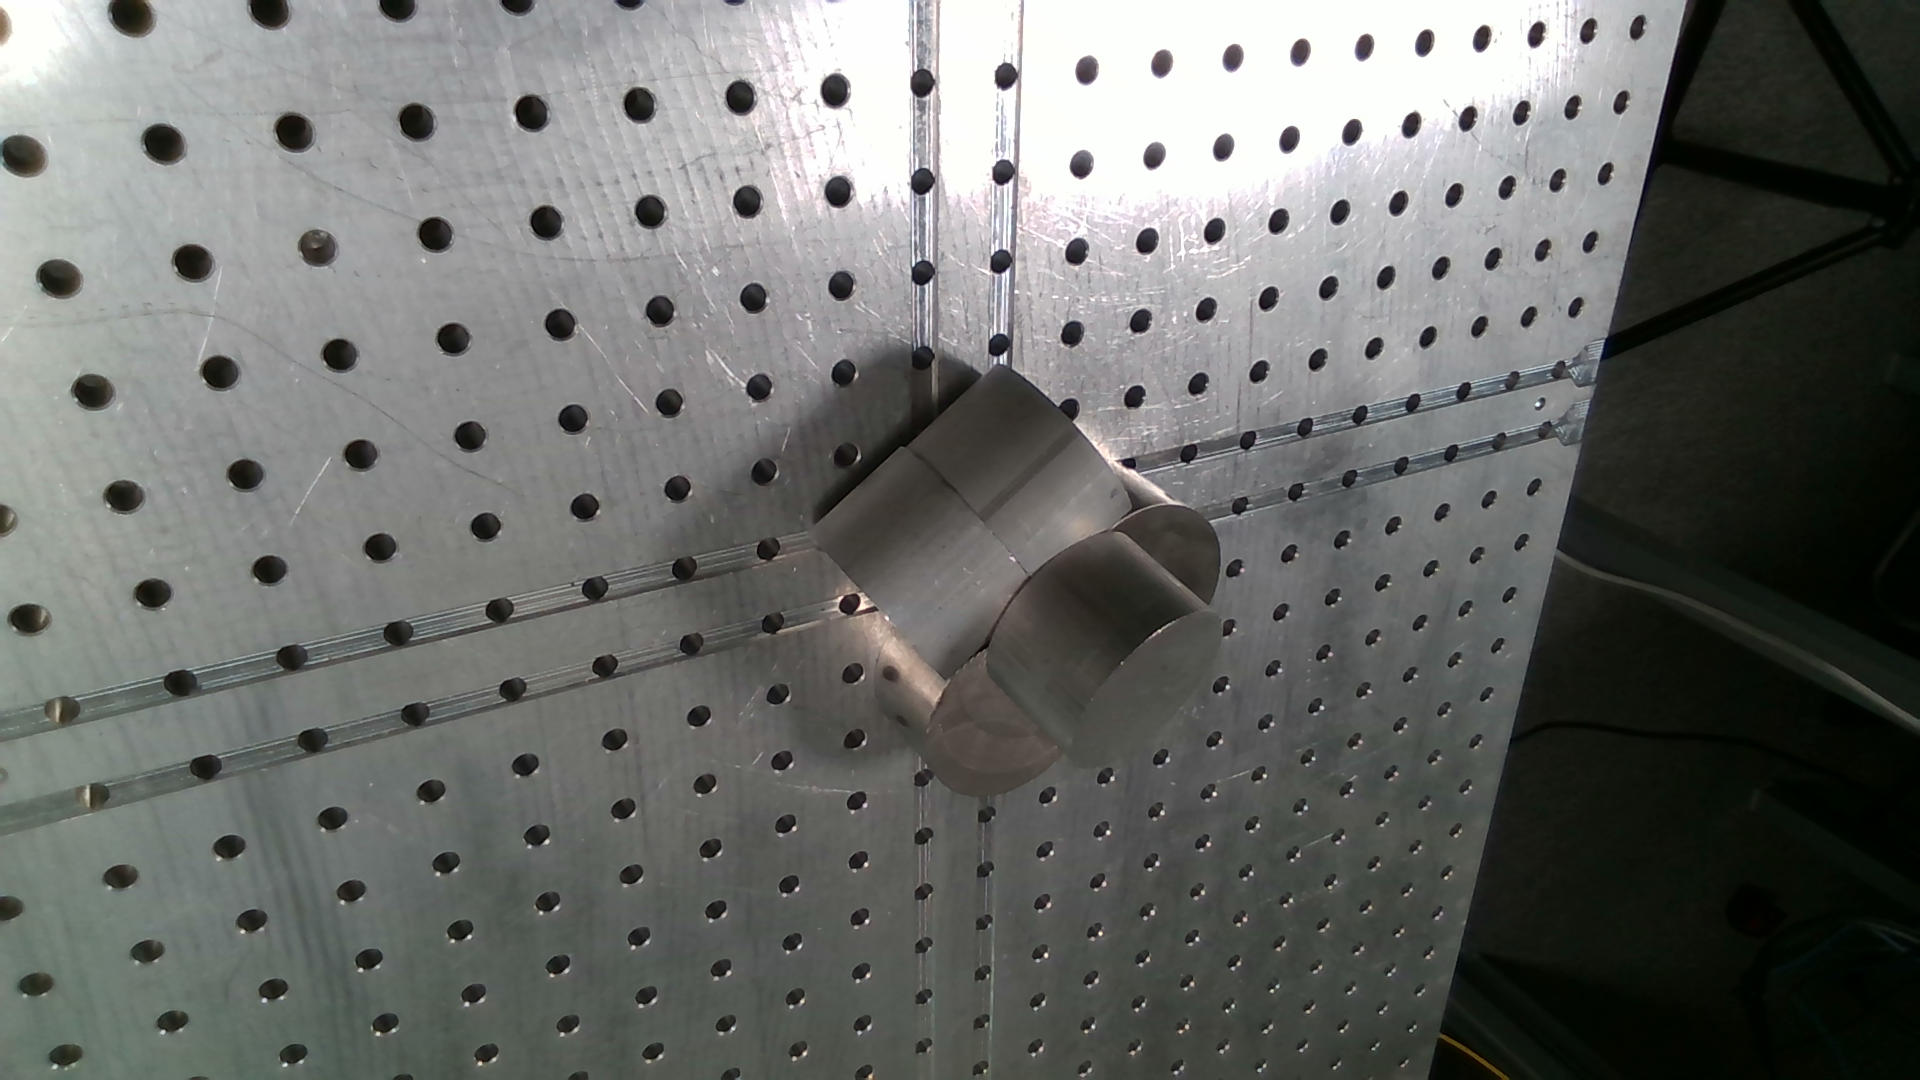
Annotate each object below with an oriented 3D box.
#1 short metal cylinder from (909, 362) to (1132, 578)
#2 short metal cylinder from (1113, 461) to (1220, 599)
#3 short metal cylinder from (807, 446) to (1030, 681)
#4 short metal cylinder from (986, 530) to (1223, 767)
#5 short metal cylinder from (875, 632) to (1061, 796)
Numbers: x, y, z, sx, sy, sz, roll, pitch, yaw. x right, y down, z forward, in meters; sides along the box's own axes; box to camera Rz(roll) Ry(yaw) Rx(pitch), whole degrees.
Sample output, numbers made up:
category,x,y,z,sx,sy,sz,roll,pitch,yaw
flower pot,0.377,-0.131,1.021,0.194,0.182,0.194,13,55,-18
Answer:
category,x,y,z,sx,sy,sz,roll,pitch,yaw
short metal cylinder,0.022,-0.024,0.549,0.050,0.080,0.080,-43,129,-5
short metal cylinder,0.068,0.010,0.614,0.080,0.050,0.080,-14,122,-25
short metal cylinder,-0.015,0.009,0.544,0.050,0.080,0.080,-43,129,-5
short metal cylinder,0.057,0.043,0.543,0.080,0.050,0.080,-32,147,-23
short metal cylinder,0.009,0.065,0.607,0.080,0.050,0.080,-14,122,-25
